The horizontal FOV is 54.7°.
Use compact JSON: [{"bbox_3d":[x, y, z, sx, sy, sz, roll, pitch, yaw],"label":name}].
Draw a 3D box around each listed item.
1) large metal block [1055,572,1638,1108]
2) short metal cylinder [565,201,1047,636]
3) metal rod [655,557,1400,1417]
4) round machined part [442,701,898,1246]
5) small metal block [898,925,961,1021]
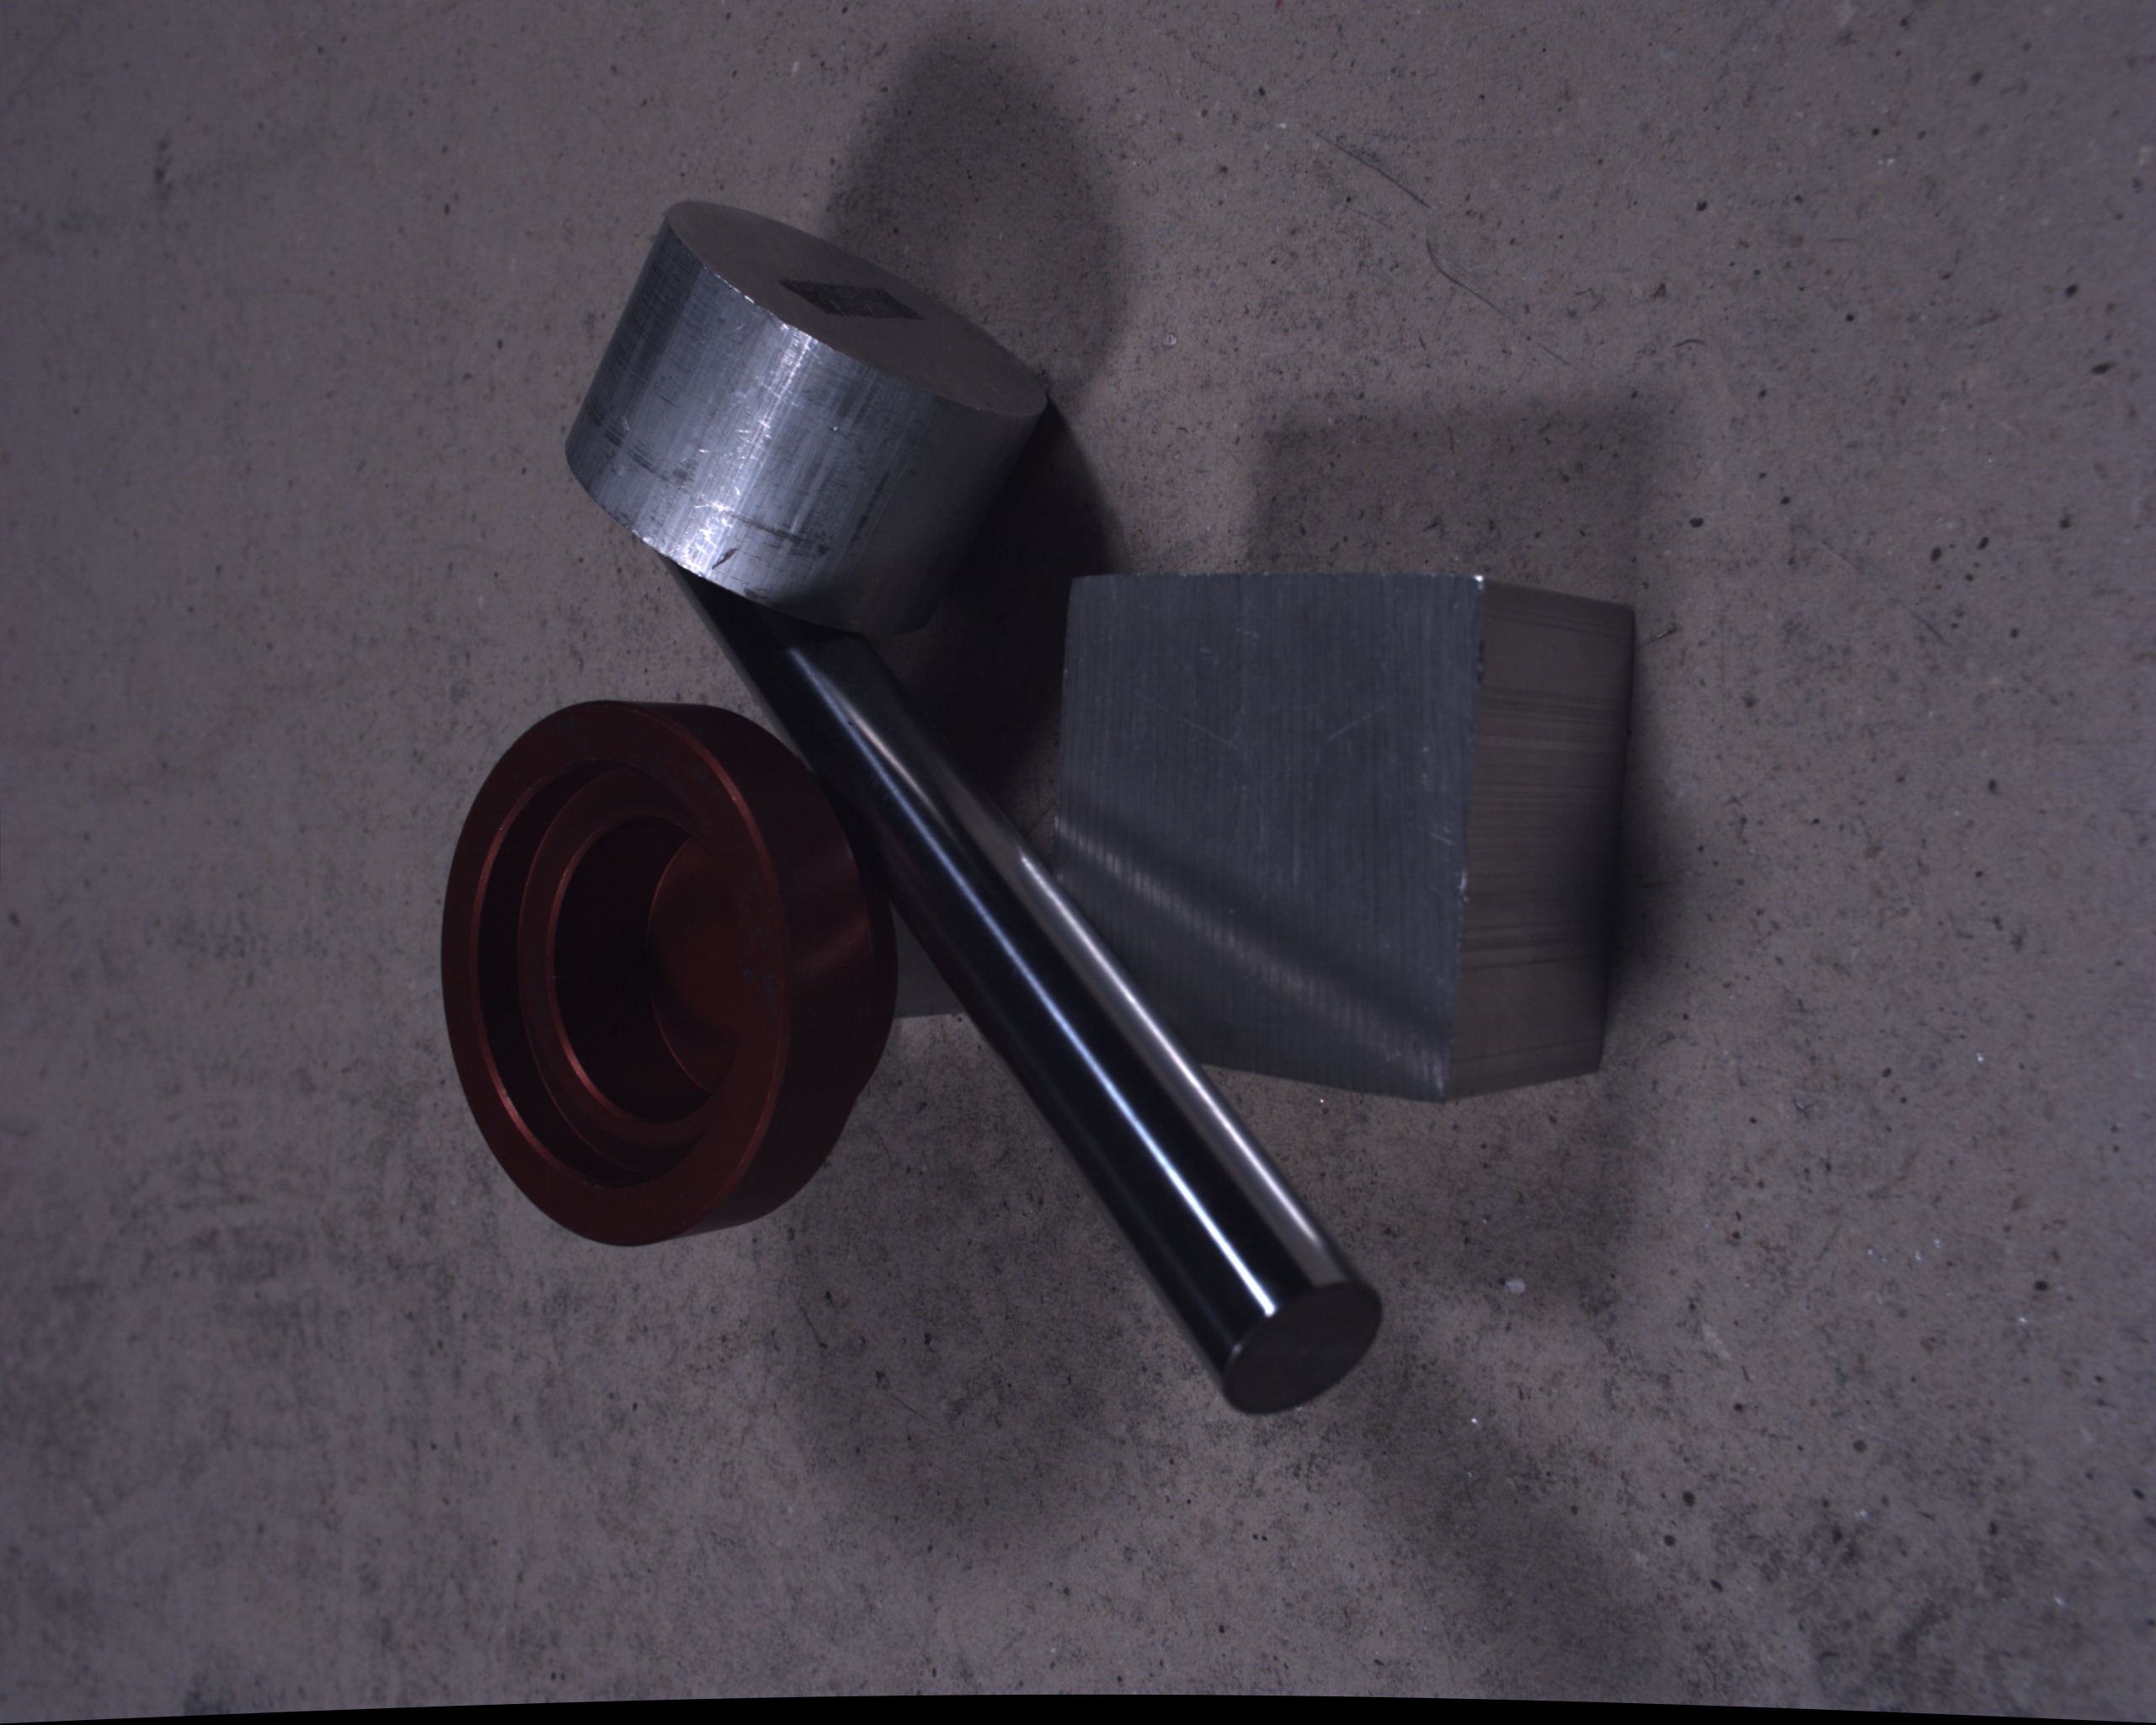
[{"bbox_3d":[0.043,-0.006,0.353,0.080,0.050,0.079,6,94,39],"label":"large metal block"},{"bbox_3d":[-0.053,-0.088,0.413,0.080,0.081,0.050,45,117,30],"label":"short metal cylinder"},{"bbox_3d":[-0.036,-0.017,0.385,0.300,0.025,0.025,51,121,44],"label":"metal rod"},{"bbox_3d":[-0.072,0.019,0.388,0.098,0.042,0.097,2,92,39],"label":"round machined part"},{"bbox_3d":[-0.045,0.007,0.426,0.025,0.050,0.050,-3,89,40],"label":"small metal block"}]
